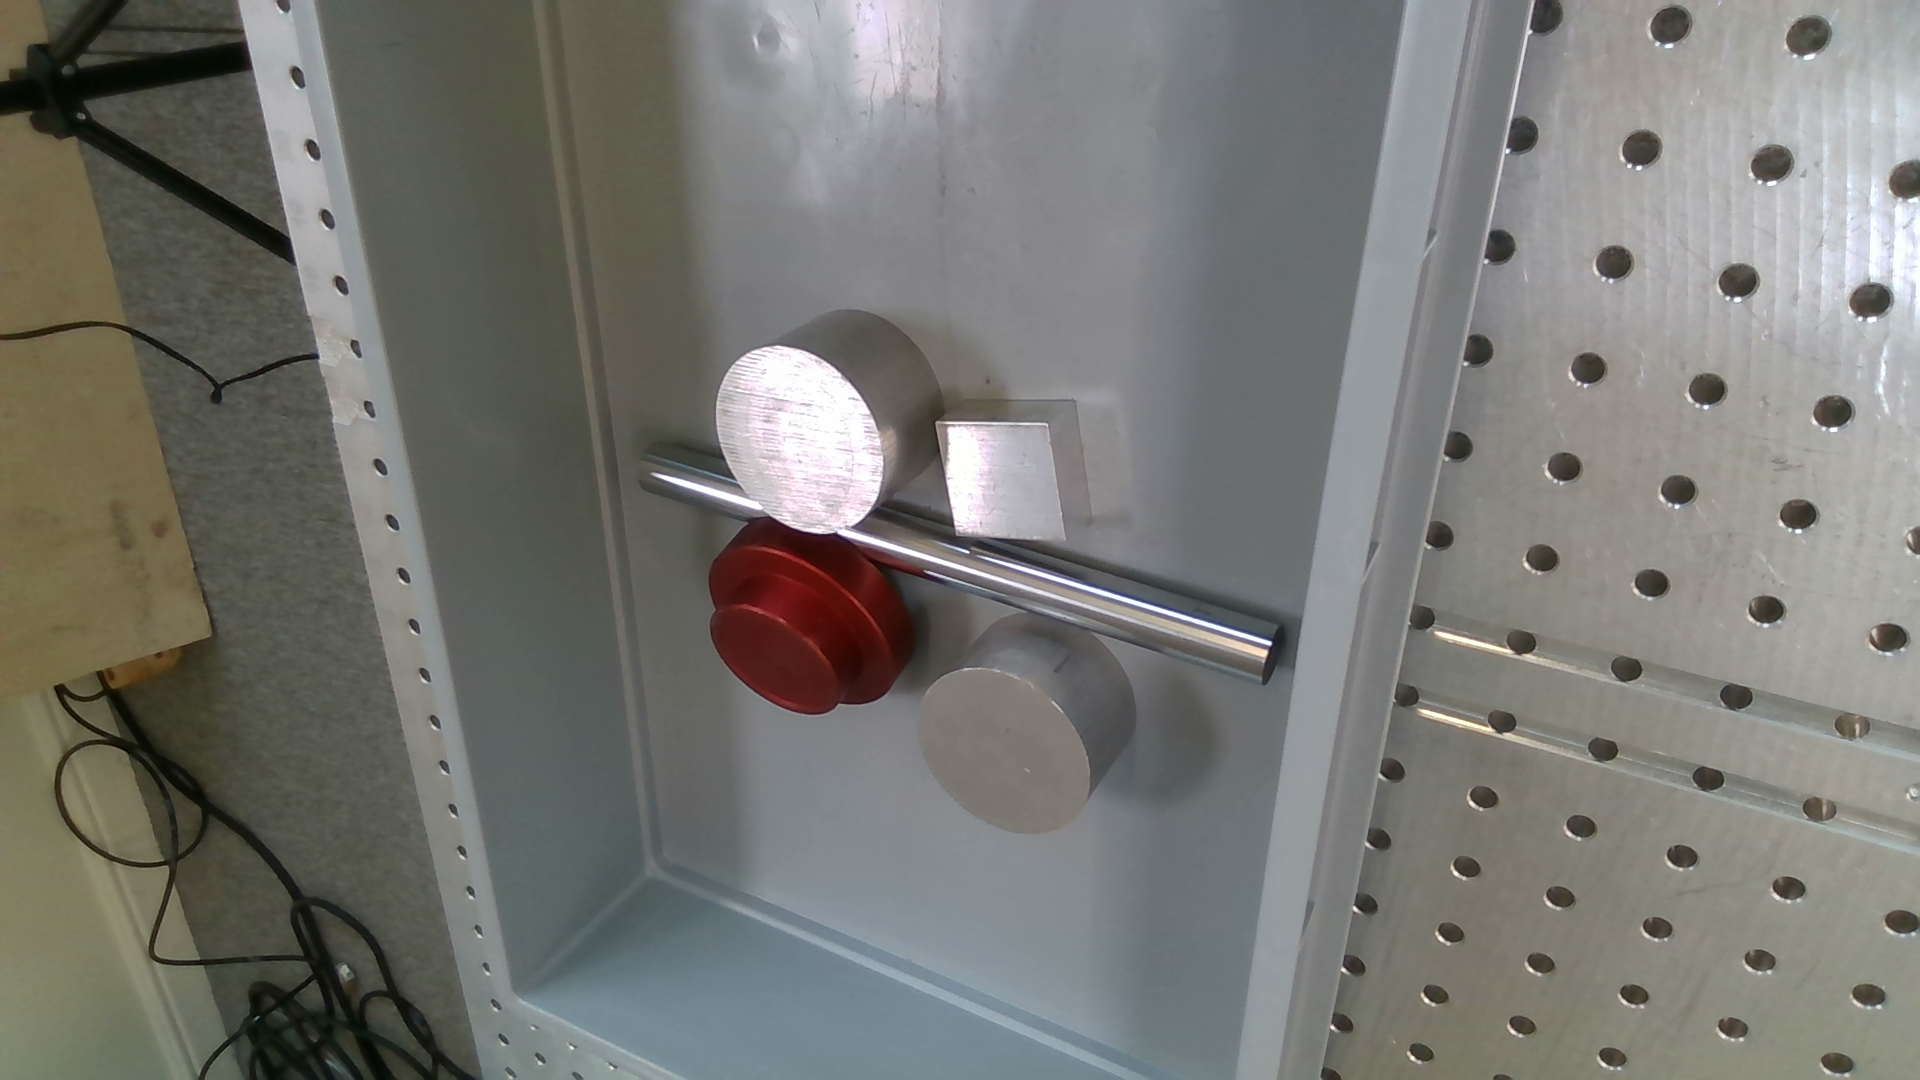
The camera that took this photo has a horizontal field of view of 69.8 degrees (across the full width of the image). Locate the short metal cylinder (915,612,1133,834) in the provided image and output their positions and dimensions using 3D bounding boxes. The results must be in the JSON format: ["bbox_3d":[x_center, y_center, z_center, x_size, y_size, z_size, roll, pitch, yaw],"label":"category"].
[{"bbox_3d":[0.028,0.077,0.587,0.080,0.050,0.080,14,122,25],"label":"short metal cylinder"}]

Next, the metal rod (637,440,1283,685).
[{"bbox_3d":[-0.012,0.005,0.588,0.300,0.025,0.025,17,123,23],"label":"metal rod"}]

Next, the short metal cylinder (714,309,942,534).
[{"bbox_3d":[-0.054,-0.049,0.568,0.080,0.050,0.080,14,122,25],"label":"short metal cylinder"}]

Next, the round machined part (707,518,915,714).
[{"bbox_3d":[-0.073,0.040,0.619,0.098,0.042,0.098,20,140,18],"label":"round machined part"}]

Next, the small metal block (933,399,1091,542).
[{"bbox_3d":[0.021,-0.028,0.550,0.050,0.025,0.050,3,117,30],"label":"small metal block"}]
